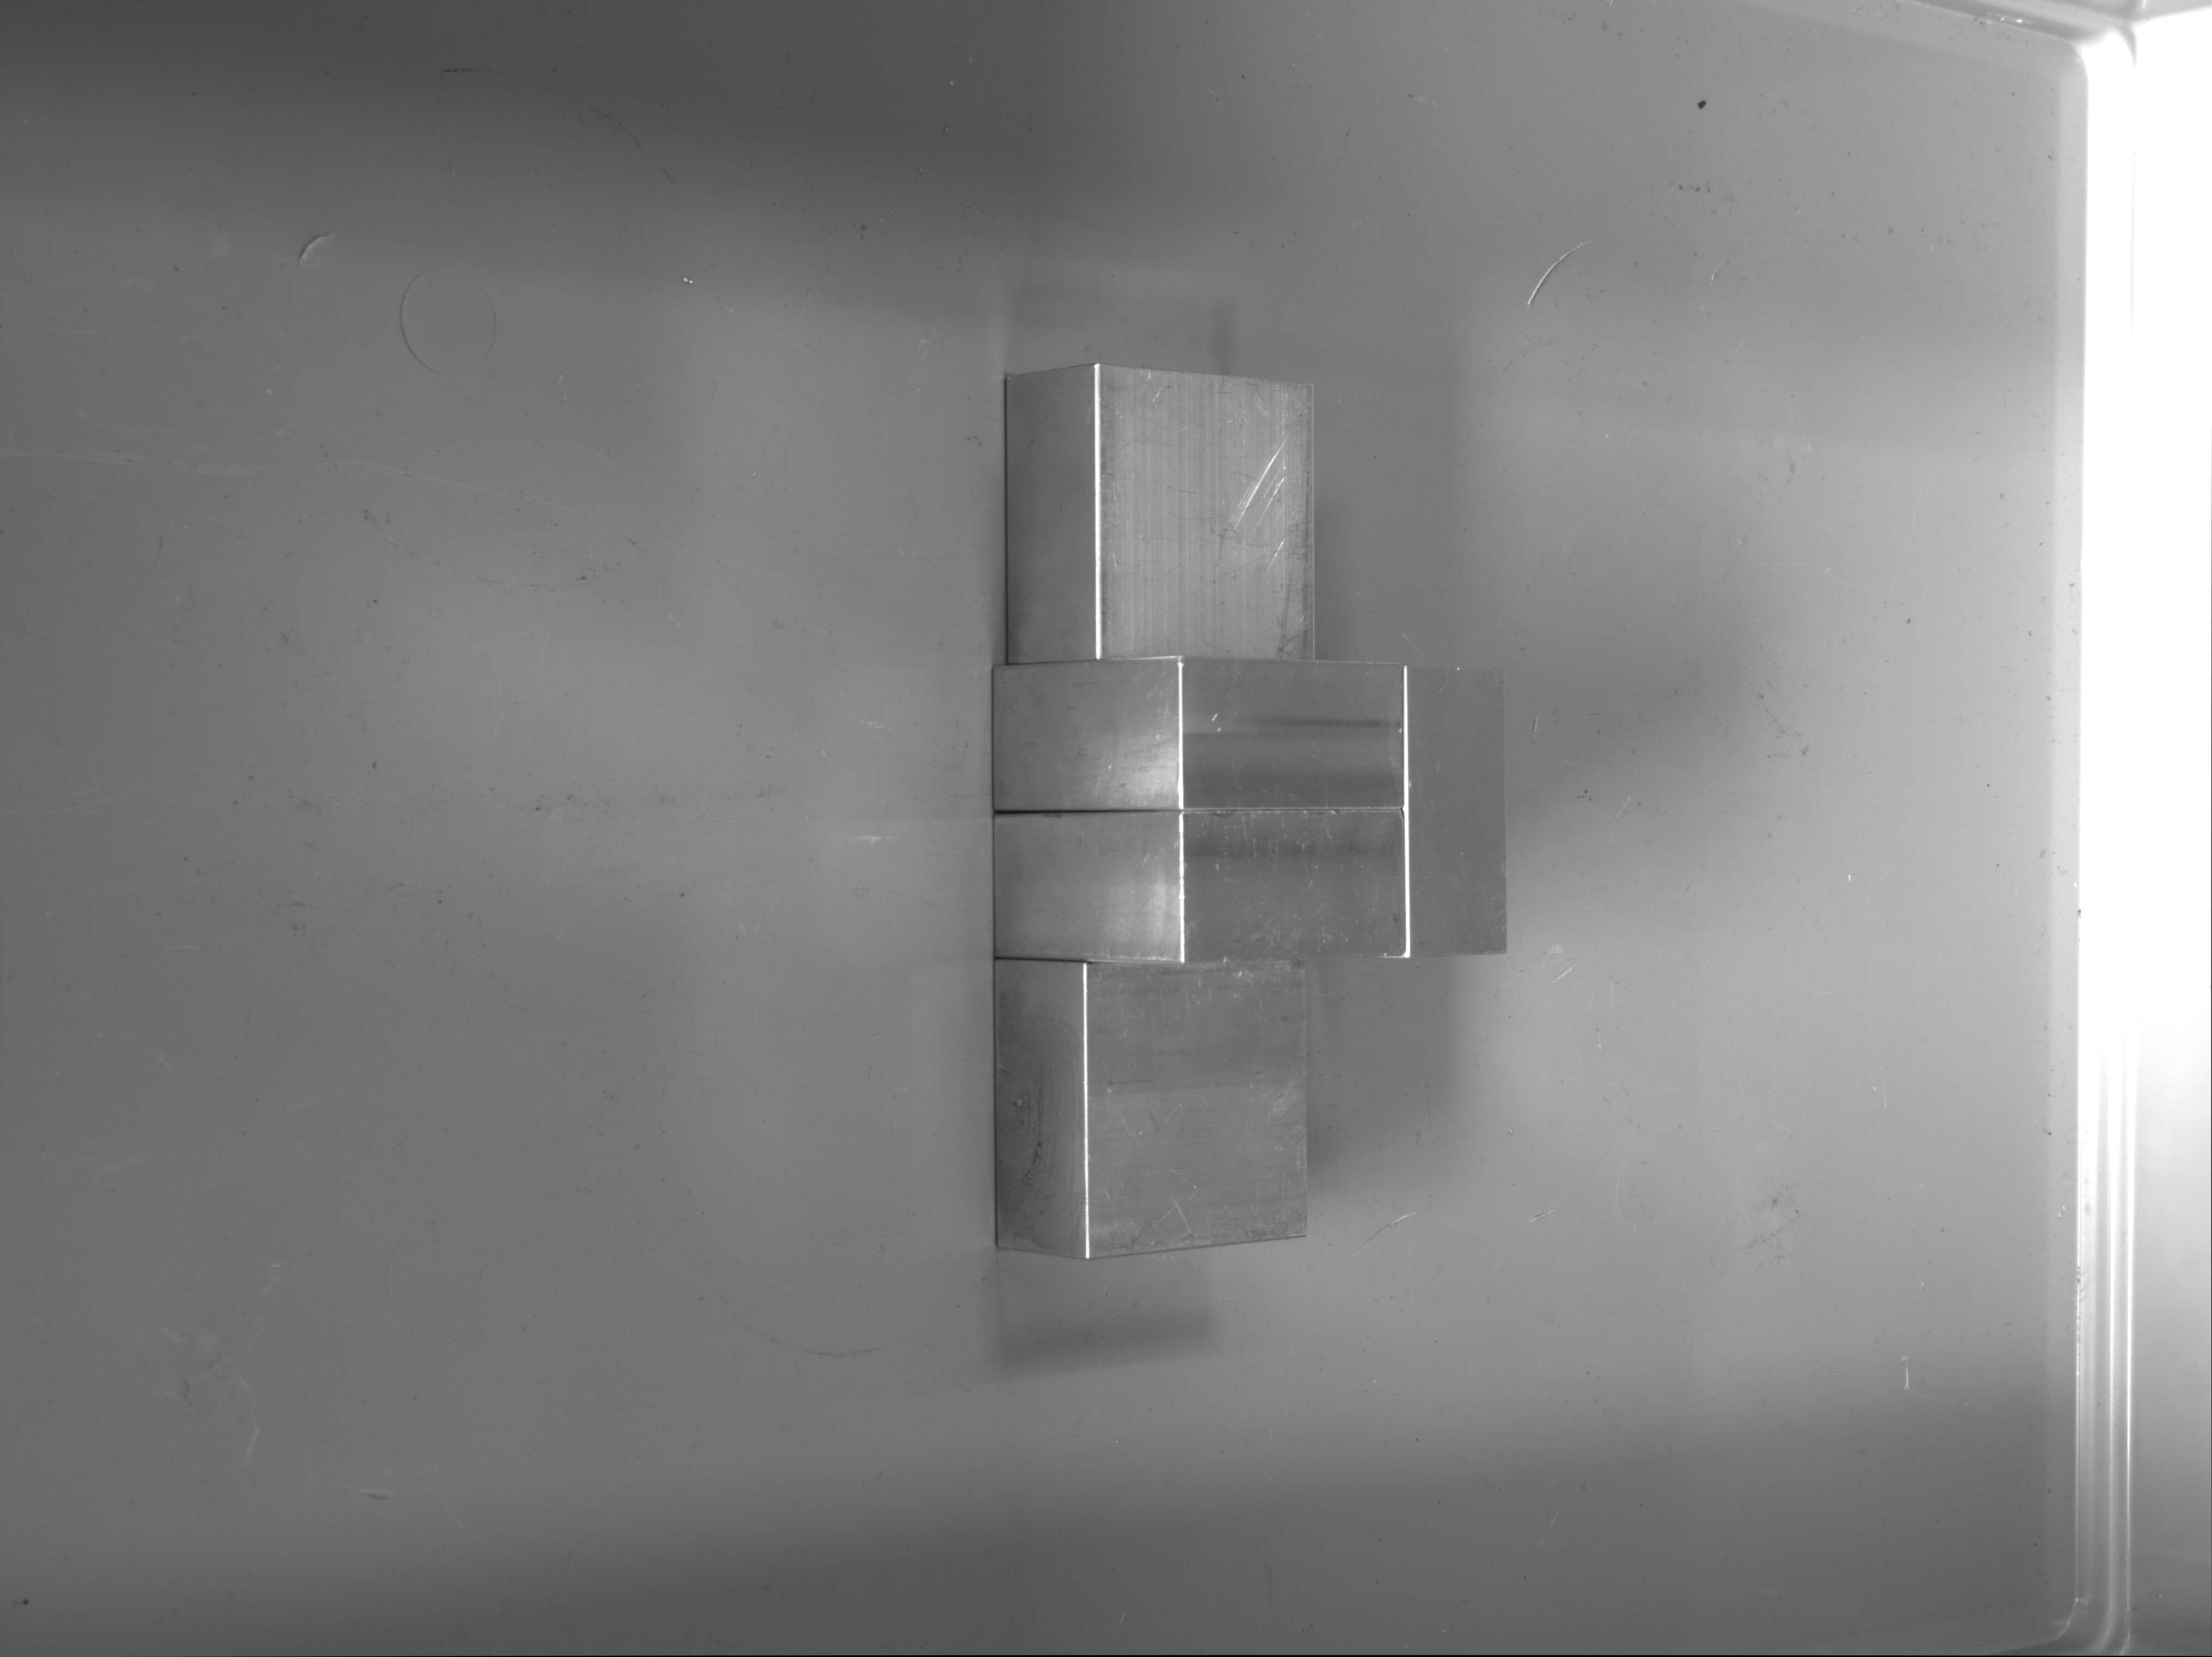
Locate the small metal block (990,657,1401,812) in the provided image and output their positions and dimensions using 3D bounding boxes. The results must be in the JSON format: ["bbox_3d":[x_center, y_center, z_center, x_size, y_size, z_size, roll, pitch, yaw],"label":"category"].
[{"bbox_3d":[0.015,-0.015,0.630,0.050,0.050,0.025,0,90,-40],"label":"small metal block"}]

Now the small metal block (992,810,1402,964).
[{"bbox_3d":[0.016,0.010,0.631,0.050,0.050,0.025,0,90,-40],"label":"small metal block"}]

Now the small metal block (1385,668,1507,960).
[{"bbox_3d":[0.045,-0.003,0.655,0.025,0.050,0.050,0,90,-40],"label":"small metal block"}]

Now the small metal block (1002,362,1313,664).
[{"bbox_3d":[0.009,-0.053,0.642,0.050,0.025,0.050,0,90,-40],"label":"small metal block"}]

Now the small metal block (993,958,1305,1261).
[{"bbox_3d":[0.008,0.047,0.640,0.050,0.025,0.050,0,90,-40],"label":"small metal block"}]
